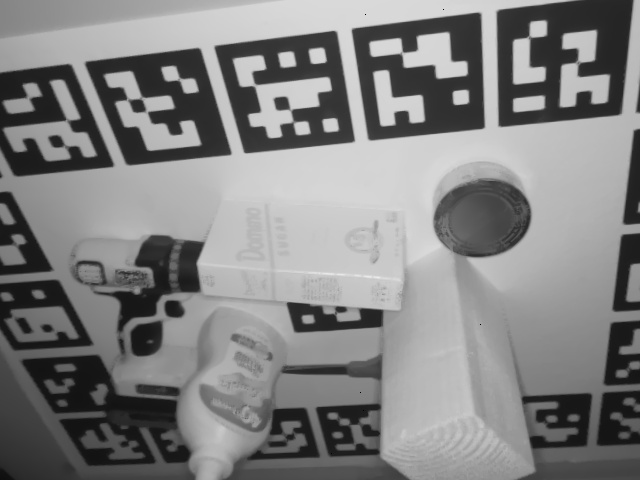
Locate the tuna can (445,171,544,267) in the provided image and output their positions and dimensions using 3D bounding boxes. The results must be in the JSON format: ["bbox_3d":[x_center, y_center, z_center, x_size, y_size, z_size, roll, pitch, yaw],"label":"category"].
[{"bbox_3d":[0.157,-0.019,0.630,0.086,0.034,0.085,2,123,4],"label":"tuna can"}]

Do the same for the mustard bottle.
[{"bbox_3d":[-0.088,0.155,0.682,0.096,0.193,0.057,39,118,-19],"label":"mustard bottle"}]

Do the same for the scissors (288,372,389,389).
[{"bbox_3d":[0.064,0.152,0.766,0.202,0.016,0.087,-2,128,5],"label":"scissors"}]

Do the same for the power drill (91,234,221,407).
[{"bbox_3d":[-0.137,0.083,0.708,0.185,0.058,0.185,7,117,-1],"label":"power drill"}]

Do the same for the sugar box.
[{"bbox_3d":[-0.008,0.012,0.632,0.176,0.094,0.045,7,128,1],"label":"sugar box"}]

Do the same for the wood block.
[{"bbox_3d":[0.124,0.113,0.633,0.090,0.208,0.090,-29,116,22],"label":"wood block"}]
